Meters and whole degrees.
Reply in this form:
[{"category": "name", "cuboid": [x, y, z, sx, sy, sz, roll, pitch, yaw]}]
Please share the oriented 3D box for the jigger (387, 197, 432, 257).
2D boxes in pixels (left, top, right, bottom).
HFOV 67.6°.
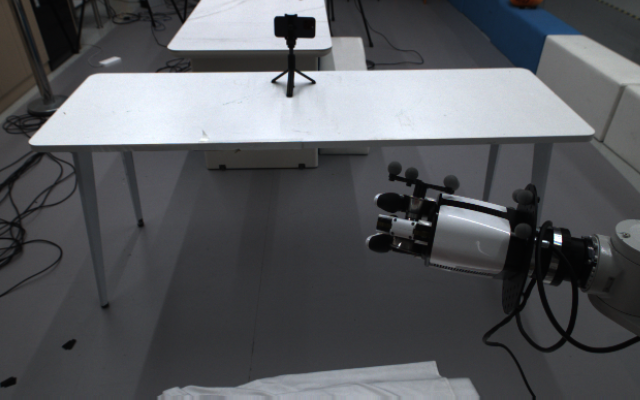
[{"category": "jigger", "cuboid": [0.119, 0.029, 0.615, 0.043, 0.071, 0.043, 14, 1, 0]}]
